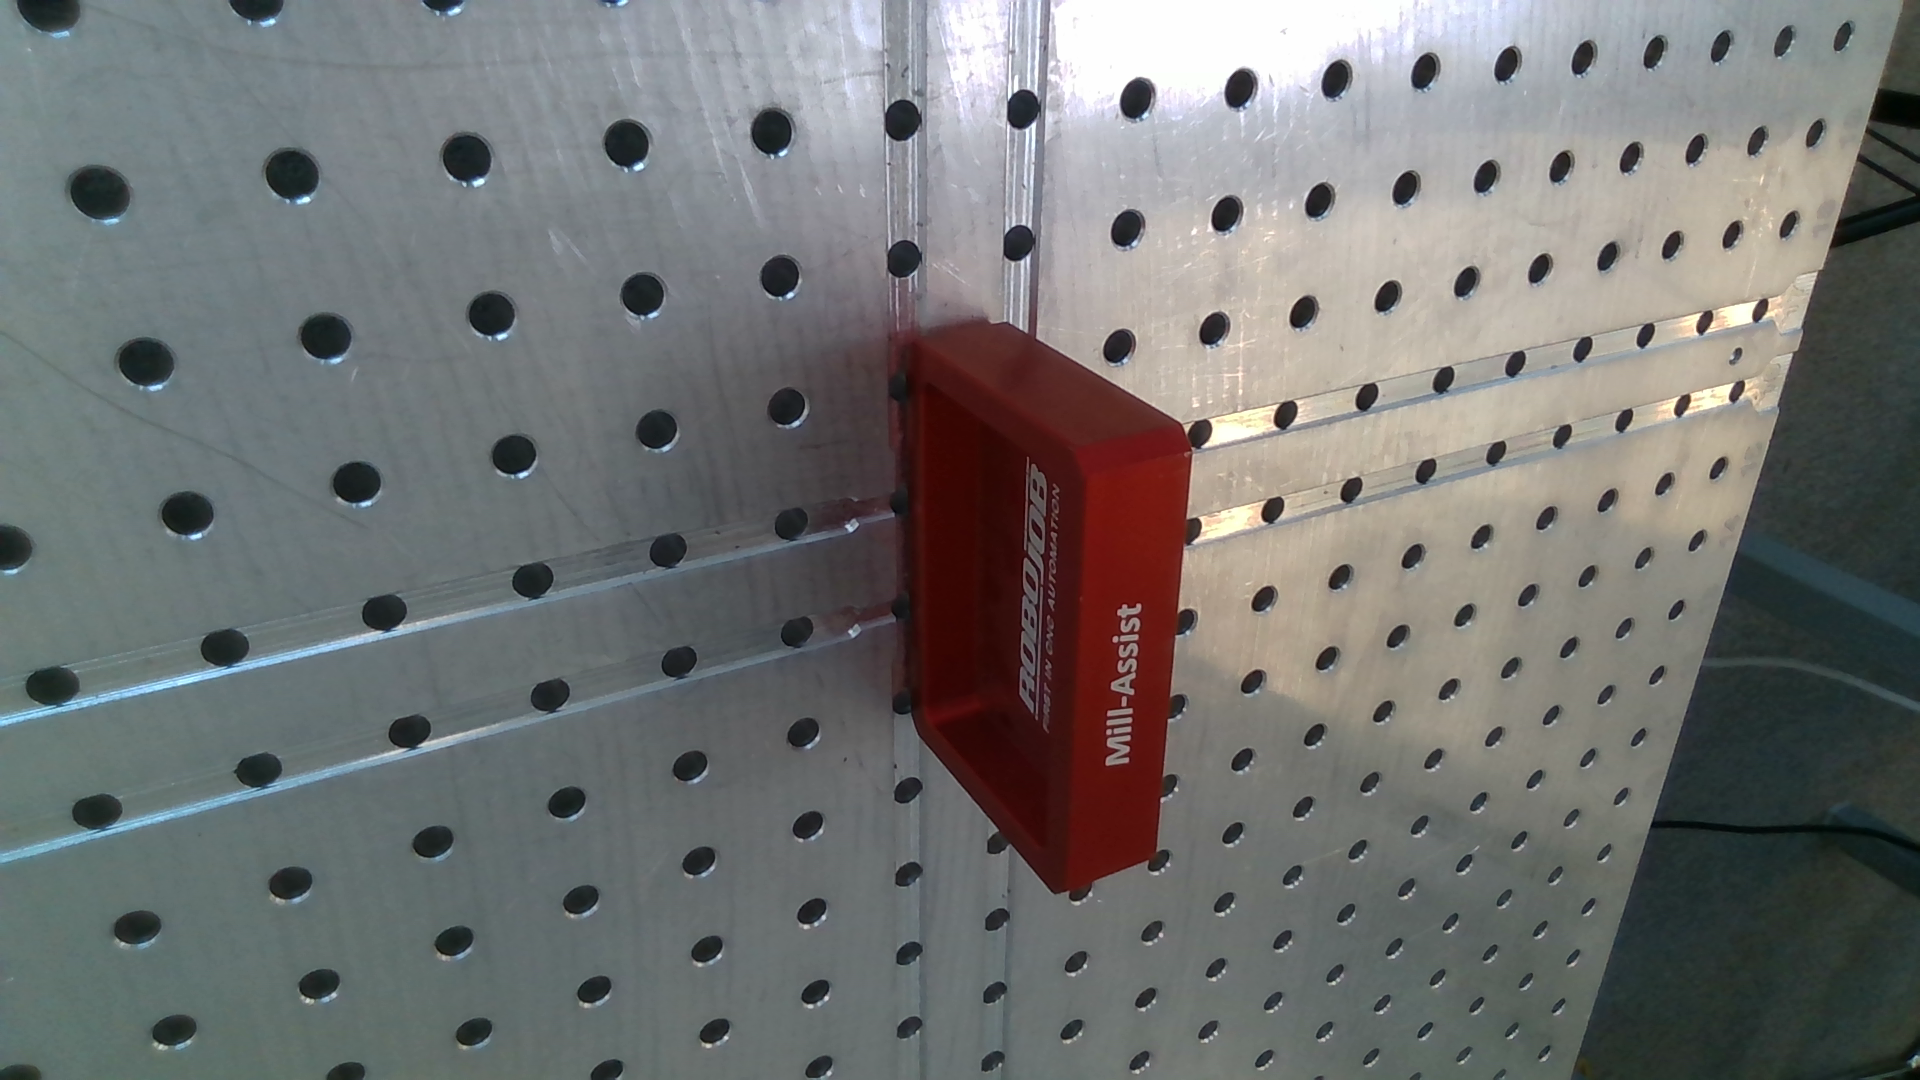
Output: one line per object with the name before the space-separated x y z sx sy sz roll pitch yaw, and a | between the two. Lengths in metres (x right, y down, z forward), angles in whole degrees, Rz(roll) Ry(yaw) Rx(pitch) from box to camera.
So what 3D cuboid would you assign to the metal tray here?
metal tray | 0.019 0.017 0.370 0.030 0.090 0.130 -14 121 -25
